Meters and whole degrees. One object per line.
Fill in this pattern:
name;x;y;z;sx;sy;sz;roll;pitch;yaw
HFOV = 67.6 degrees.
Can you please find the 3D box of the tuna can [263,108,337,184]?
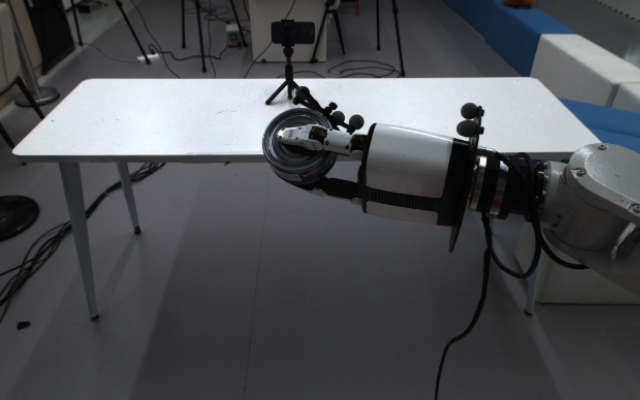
tuna can;-0.019;-0.058;0.562;0.085;0.034;0.085;-4;69;10
